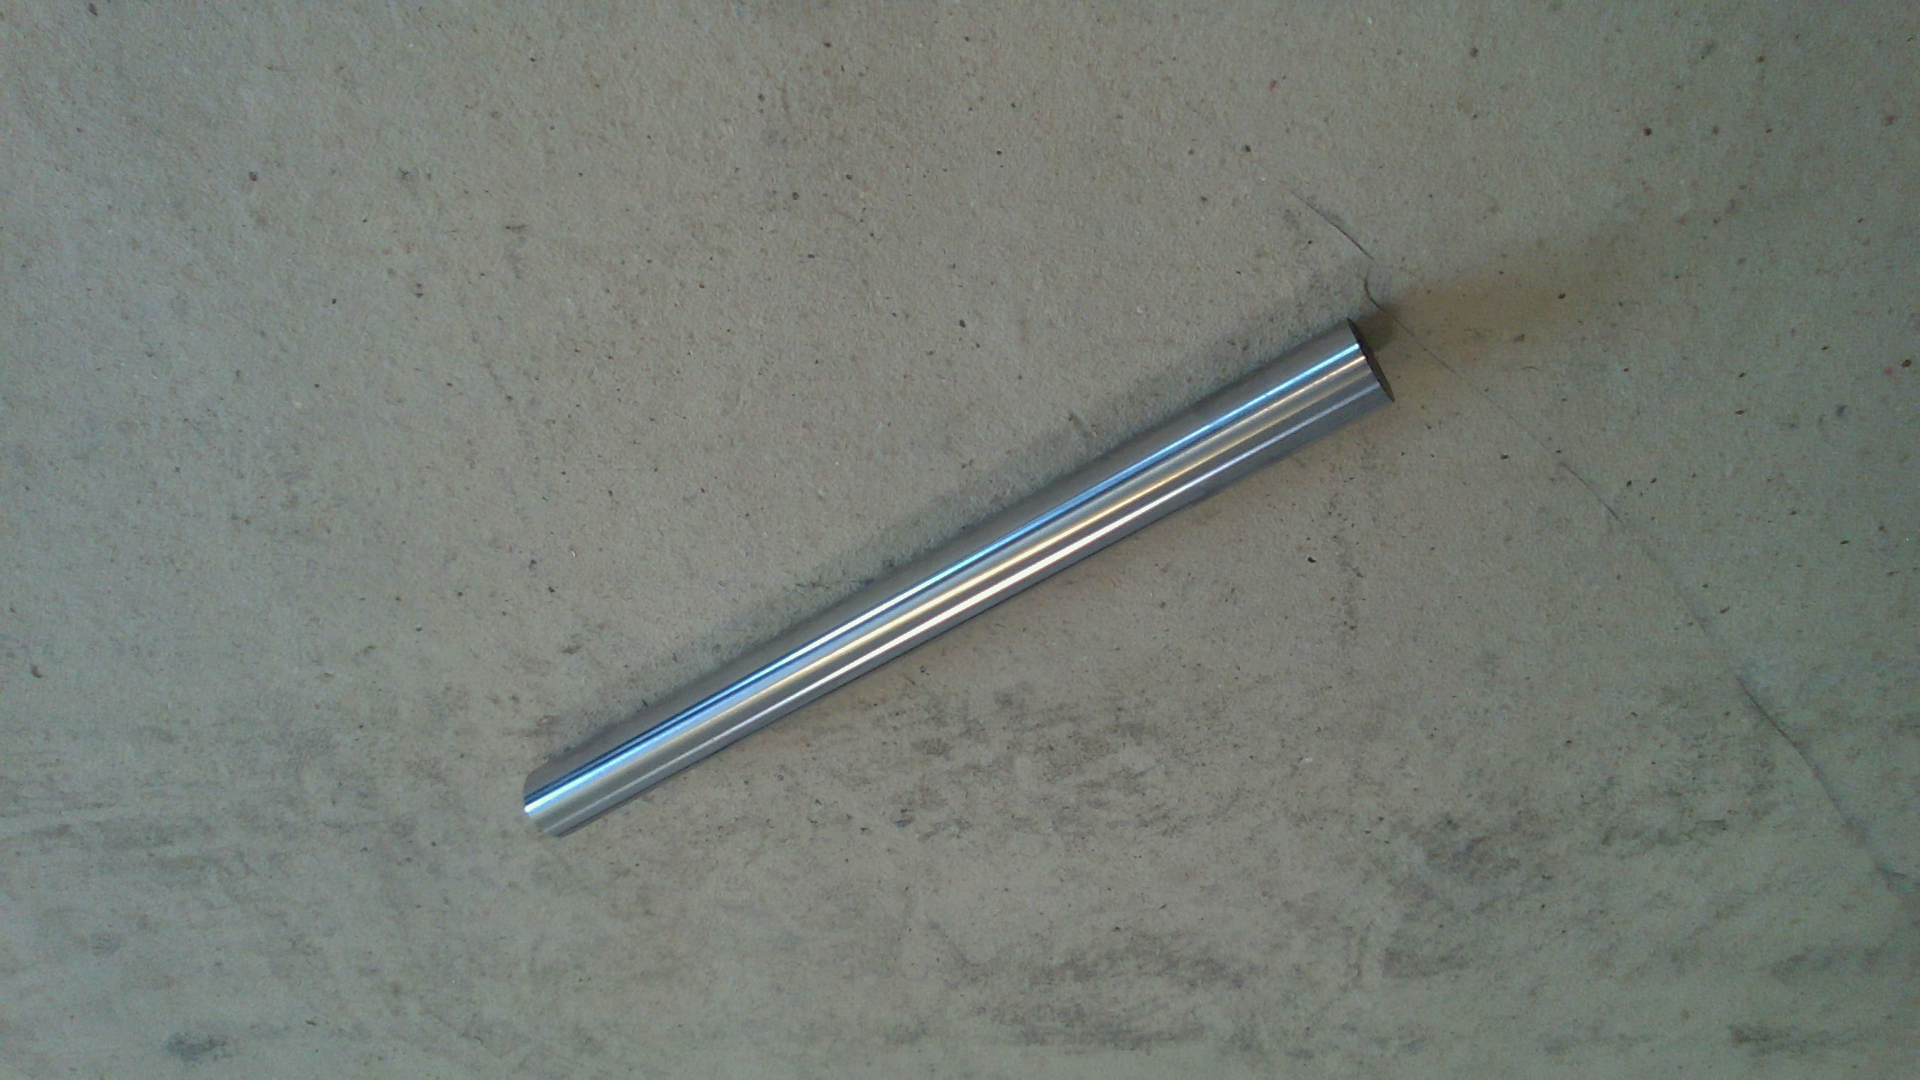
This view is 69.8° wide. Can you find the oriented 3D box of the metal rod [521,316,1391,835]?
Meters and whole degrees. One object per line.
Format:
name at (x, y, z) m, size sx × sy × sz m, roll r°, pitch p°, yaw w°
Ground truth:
metal rod at (-0.017, 0.021, 0.408) m, size 0.299 × 0.025 × 0.025 m, roll -29°, pitch 124°, yaw 22°
